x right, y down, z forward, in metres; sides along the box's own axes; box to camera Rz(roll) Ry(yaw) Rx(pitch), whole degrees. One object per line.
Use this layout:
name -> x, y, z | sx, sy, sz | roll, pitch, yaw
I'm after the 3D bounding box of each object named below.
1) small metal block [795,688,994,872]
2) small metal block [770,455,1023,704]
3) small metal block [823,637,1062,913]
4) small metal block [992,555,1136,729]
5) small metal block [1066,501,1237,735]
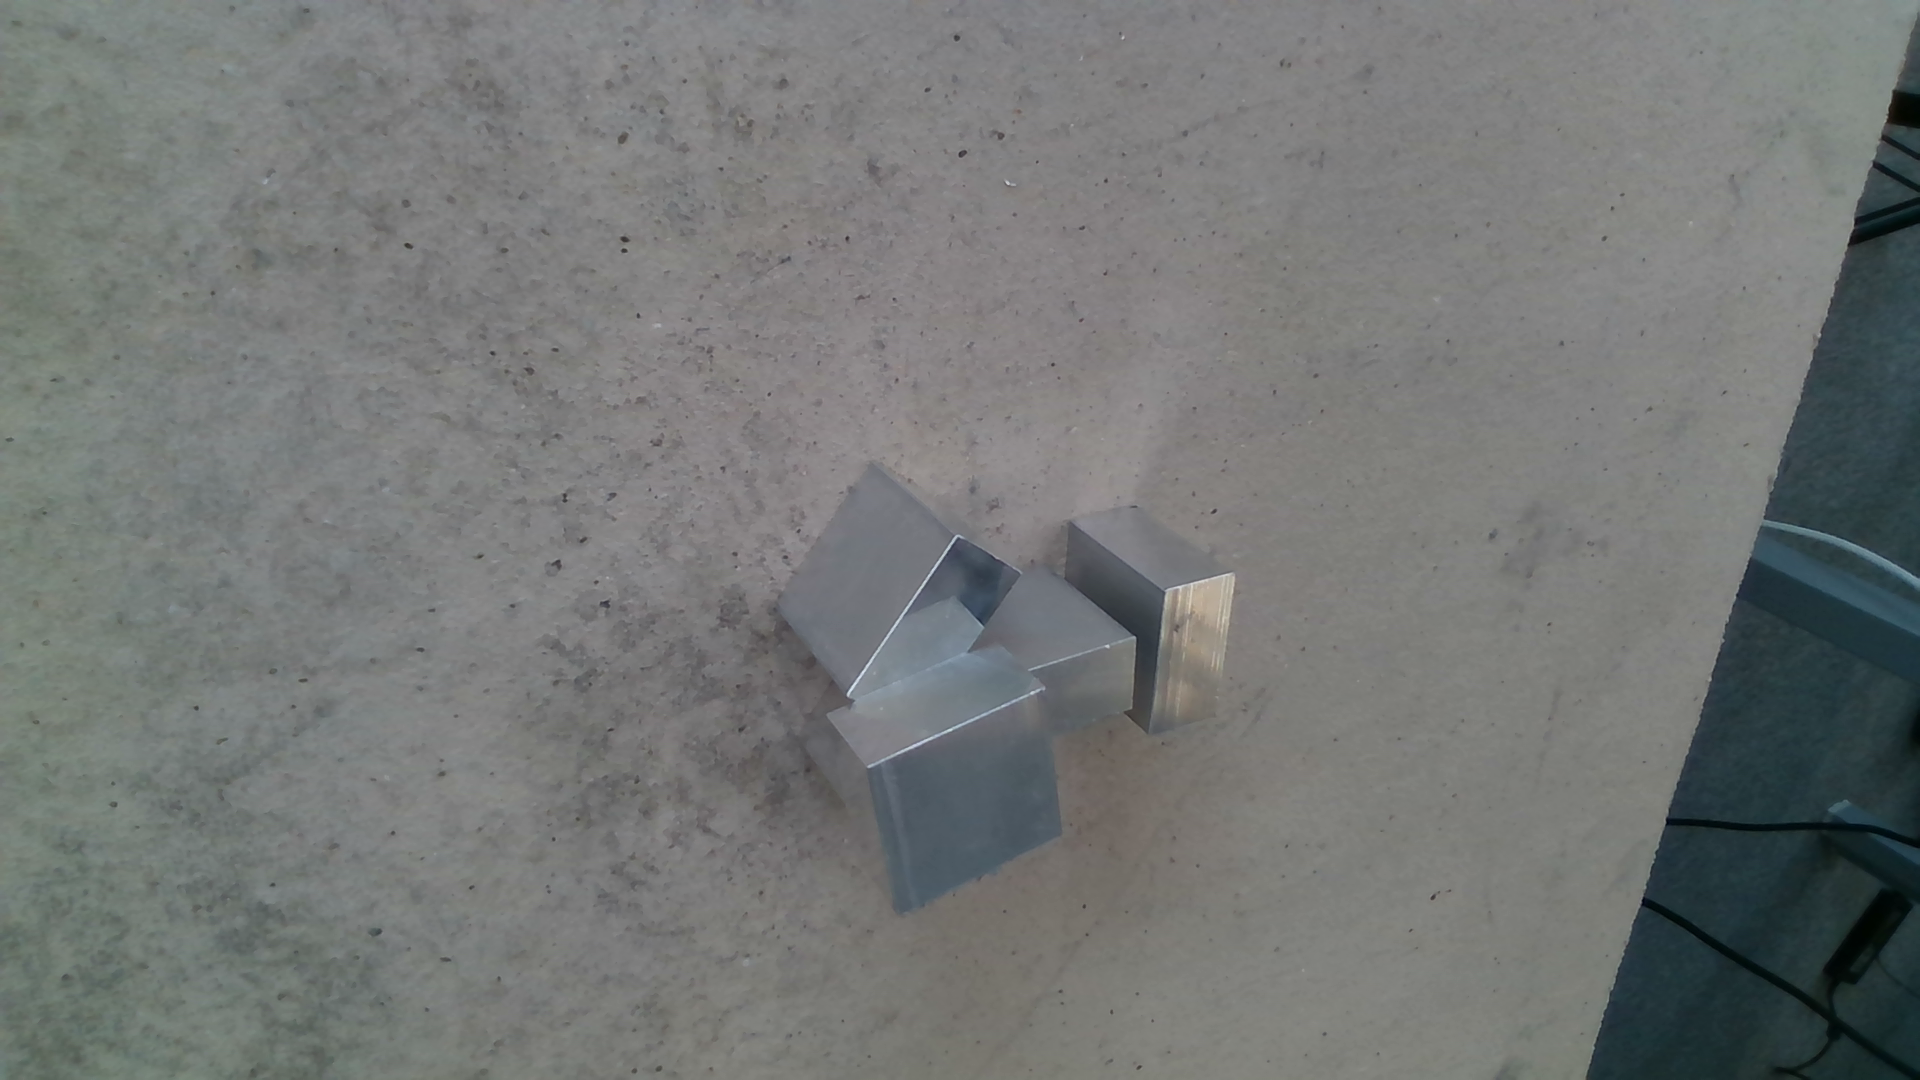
small metal block -> -0.013, 0.067, 0.403 | 0.050, 0.050, 0.025 | 27, 99, -38
small metal block -> -0.018, 0.013, 0.369 | 0.025, 0.050, 0.050 | 30, 98, -39
small metal block -> -0.004, 0.060, 0.357 | 0.050, 0.025, 0.050 | -22, 124, -21
small metal block -> 0.015, 0.032, 0.402 | 0.050, 0.050, 0.025 | -16, 123, -25
small metal block -> 0.056, 0.023, 0.420 | 0.025, 0.050, 0.050 | -13, 121, -26
